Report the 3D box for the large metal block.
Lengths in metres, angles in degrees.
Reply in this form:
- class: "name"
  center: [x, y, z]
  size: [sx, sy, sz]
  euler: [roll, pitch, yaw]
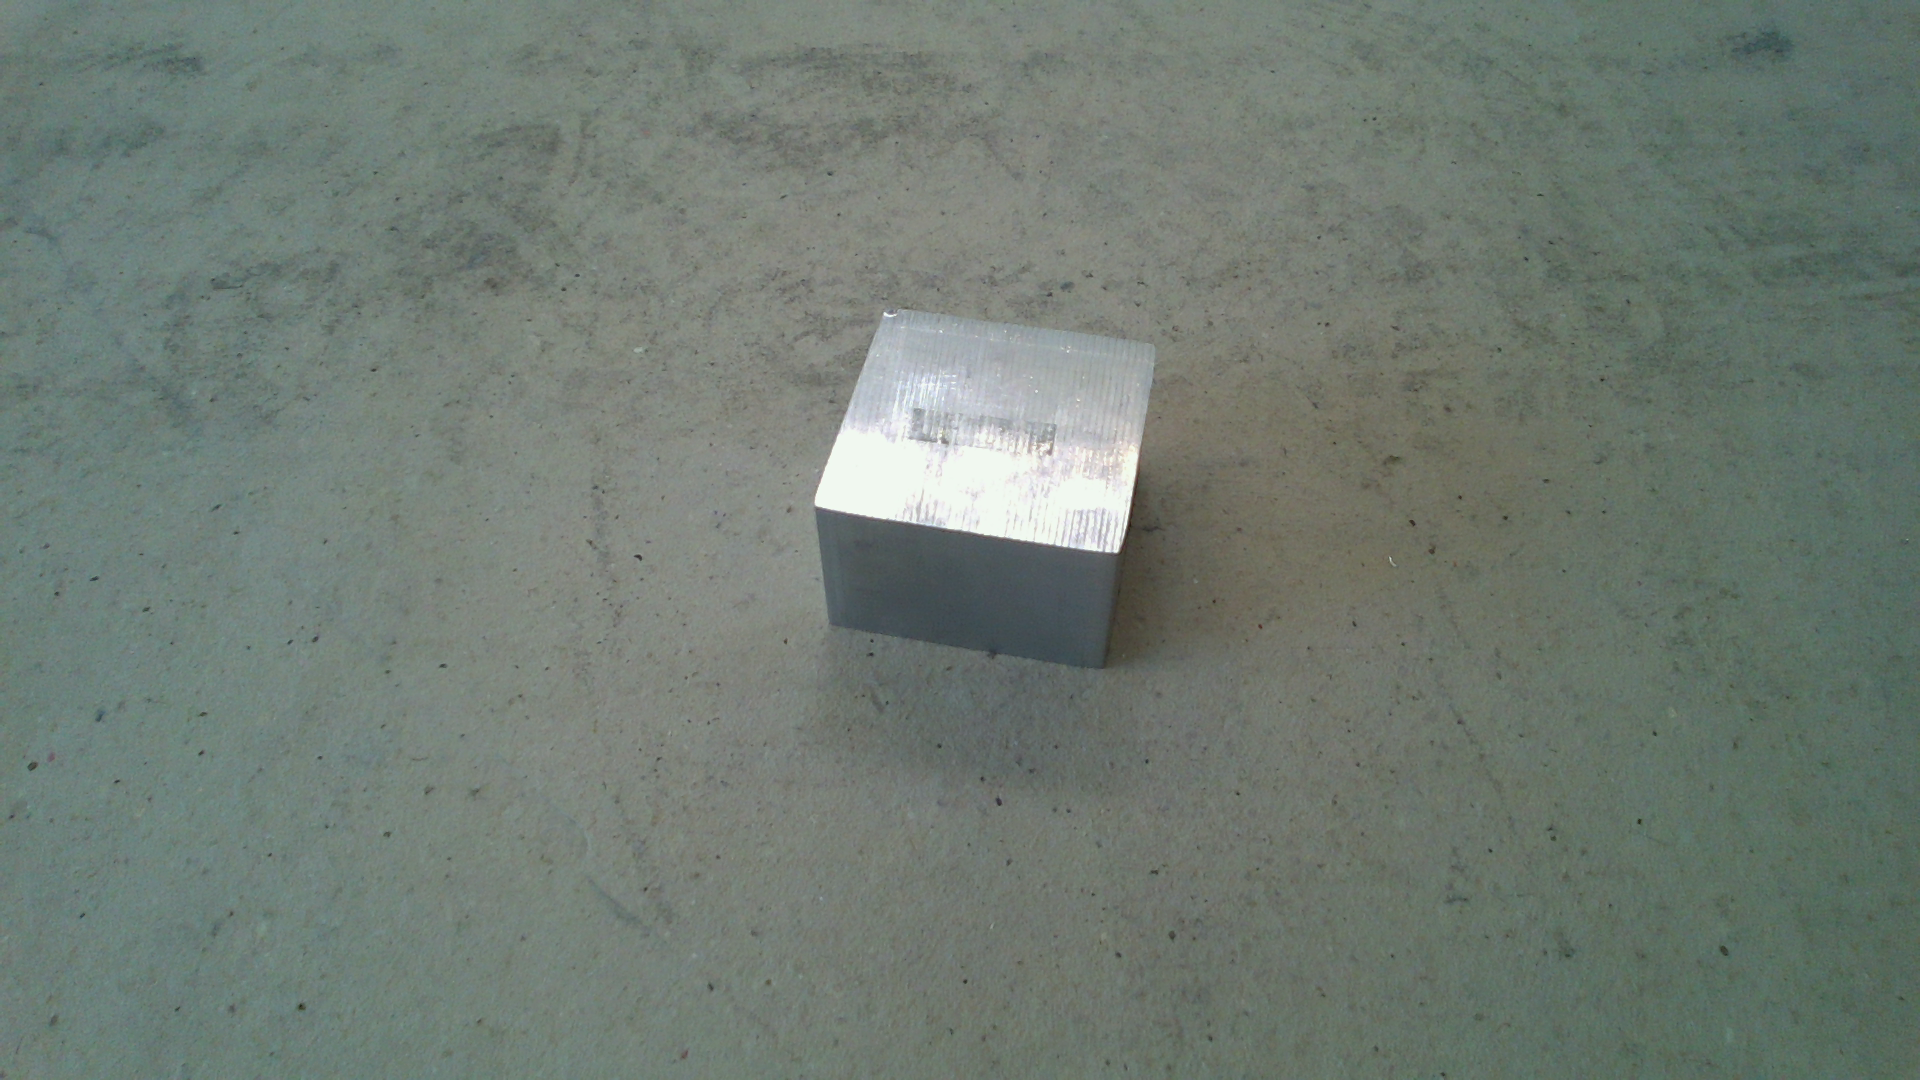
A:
- class: "large metal block"
  center: [0.009, -0.016, 0.389]
  size: [0.080, 0.050, 0.080]
  euler: [10, 51, 7]
